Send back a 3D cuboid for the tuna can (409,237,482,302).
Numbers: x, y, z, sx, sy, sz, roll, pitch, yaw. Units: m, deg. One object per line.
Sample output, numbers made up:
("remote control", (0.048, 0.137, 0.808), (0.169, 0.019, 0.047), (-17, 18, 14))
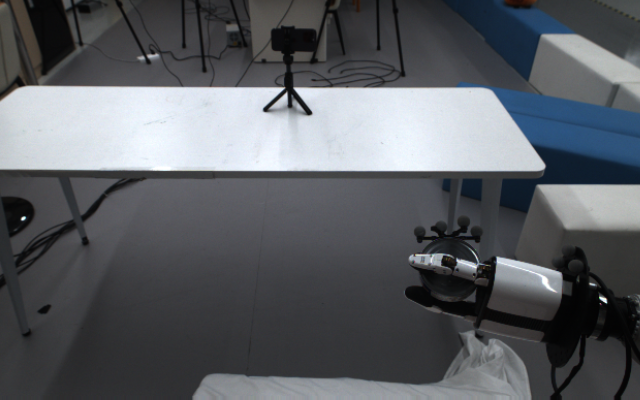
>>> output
("tuna can", (0.181, 0.095, 0.675), (0.085, 0.034, 0.085), (-6, 59, 11))
